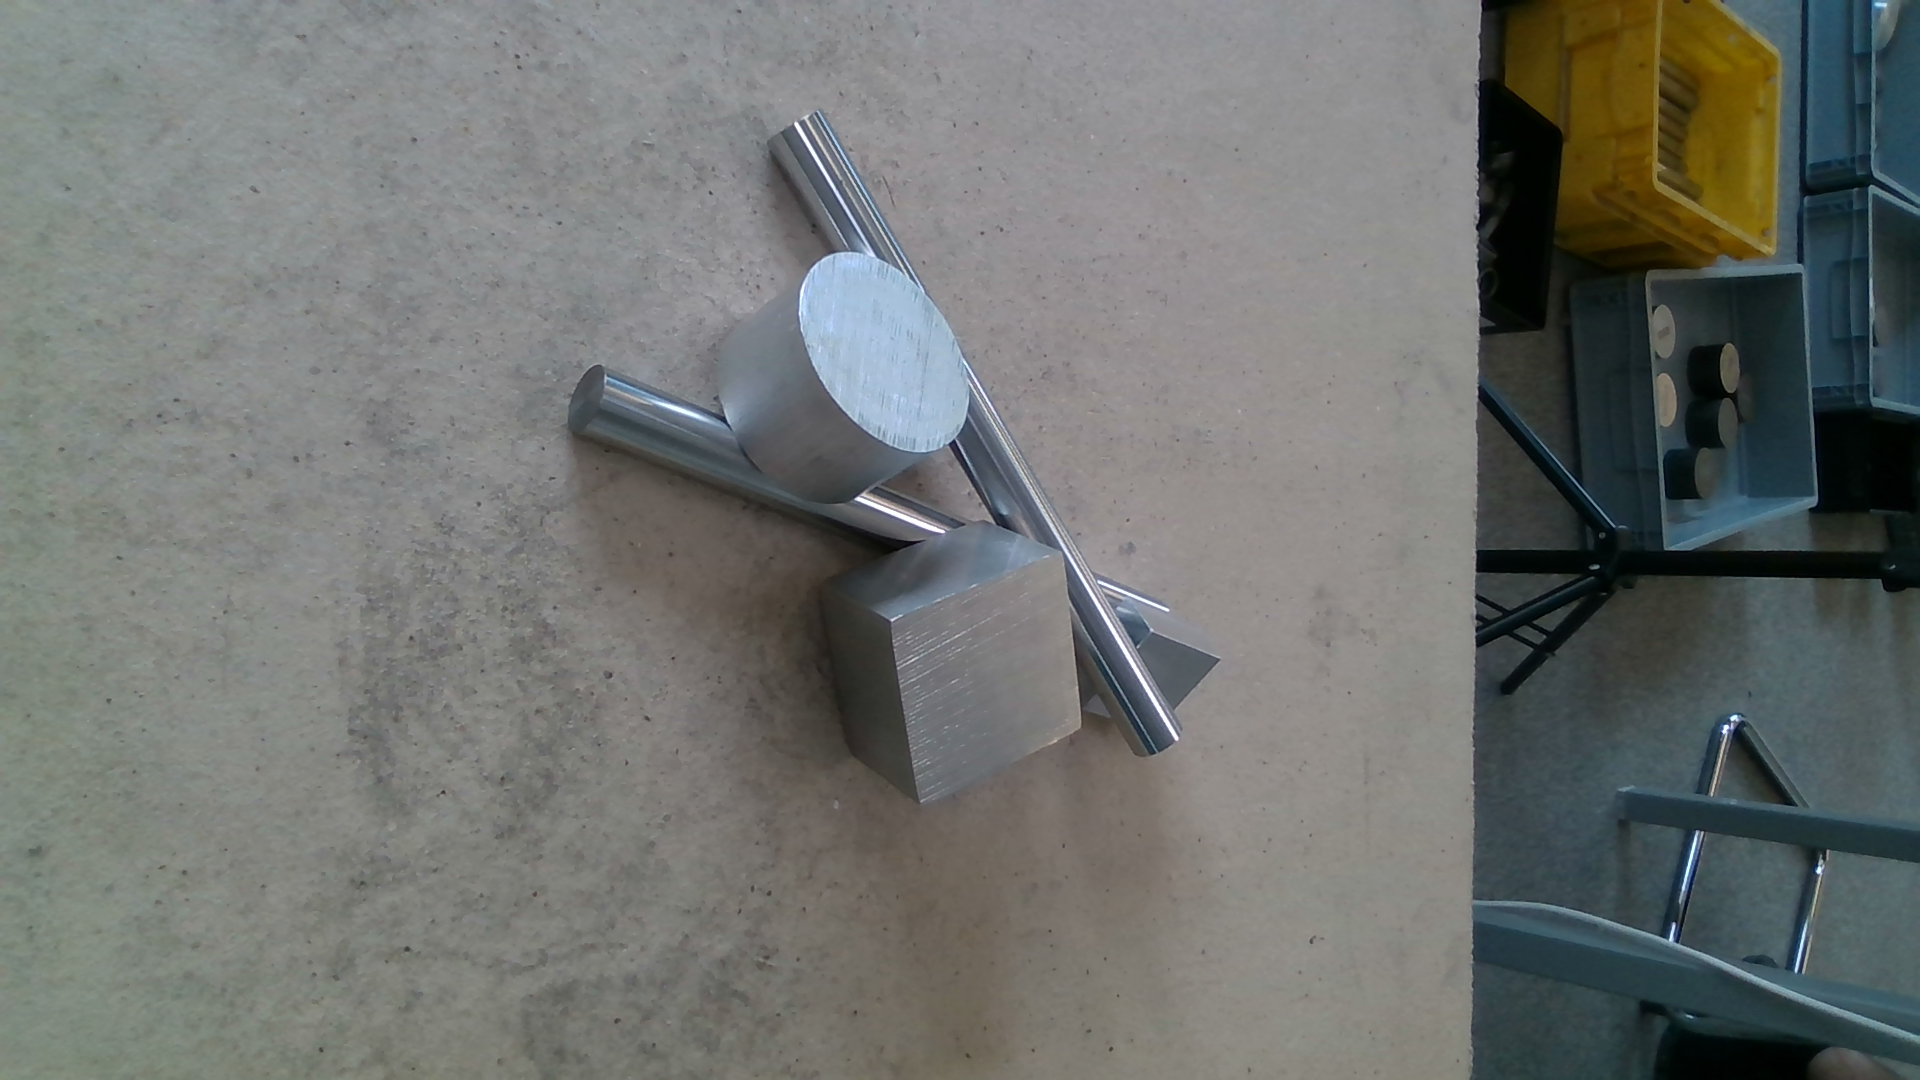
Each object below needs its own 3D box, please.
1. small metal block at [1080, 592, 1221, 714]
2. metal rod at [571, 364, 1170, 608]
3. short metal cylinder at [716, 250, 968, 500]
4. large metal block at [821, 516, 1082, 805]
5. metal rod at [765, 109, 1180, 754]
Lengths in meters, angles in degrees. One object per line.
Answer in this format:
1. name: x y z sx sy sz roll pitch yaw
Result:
1. small metal block: 0.083 0.057 0.638 0.050 0.025 0.050 21 116 -39
2. metal rod: -0.018 -0.005 0.568 0.301 0.025 0.025 22 76 -38
3. short metal cylinder: -0.043 -0.060 0.514 0.080 0.050 0.080 24 53 -37
4. large metal block: -0.002 0.045 0.547 0.080 0.050 0.080 -21 116 -29
5. metal rod: 0.011 -0.036 0.570 0.025 0.025 0.300 -42 109 -32
